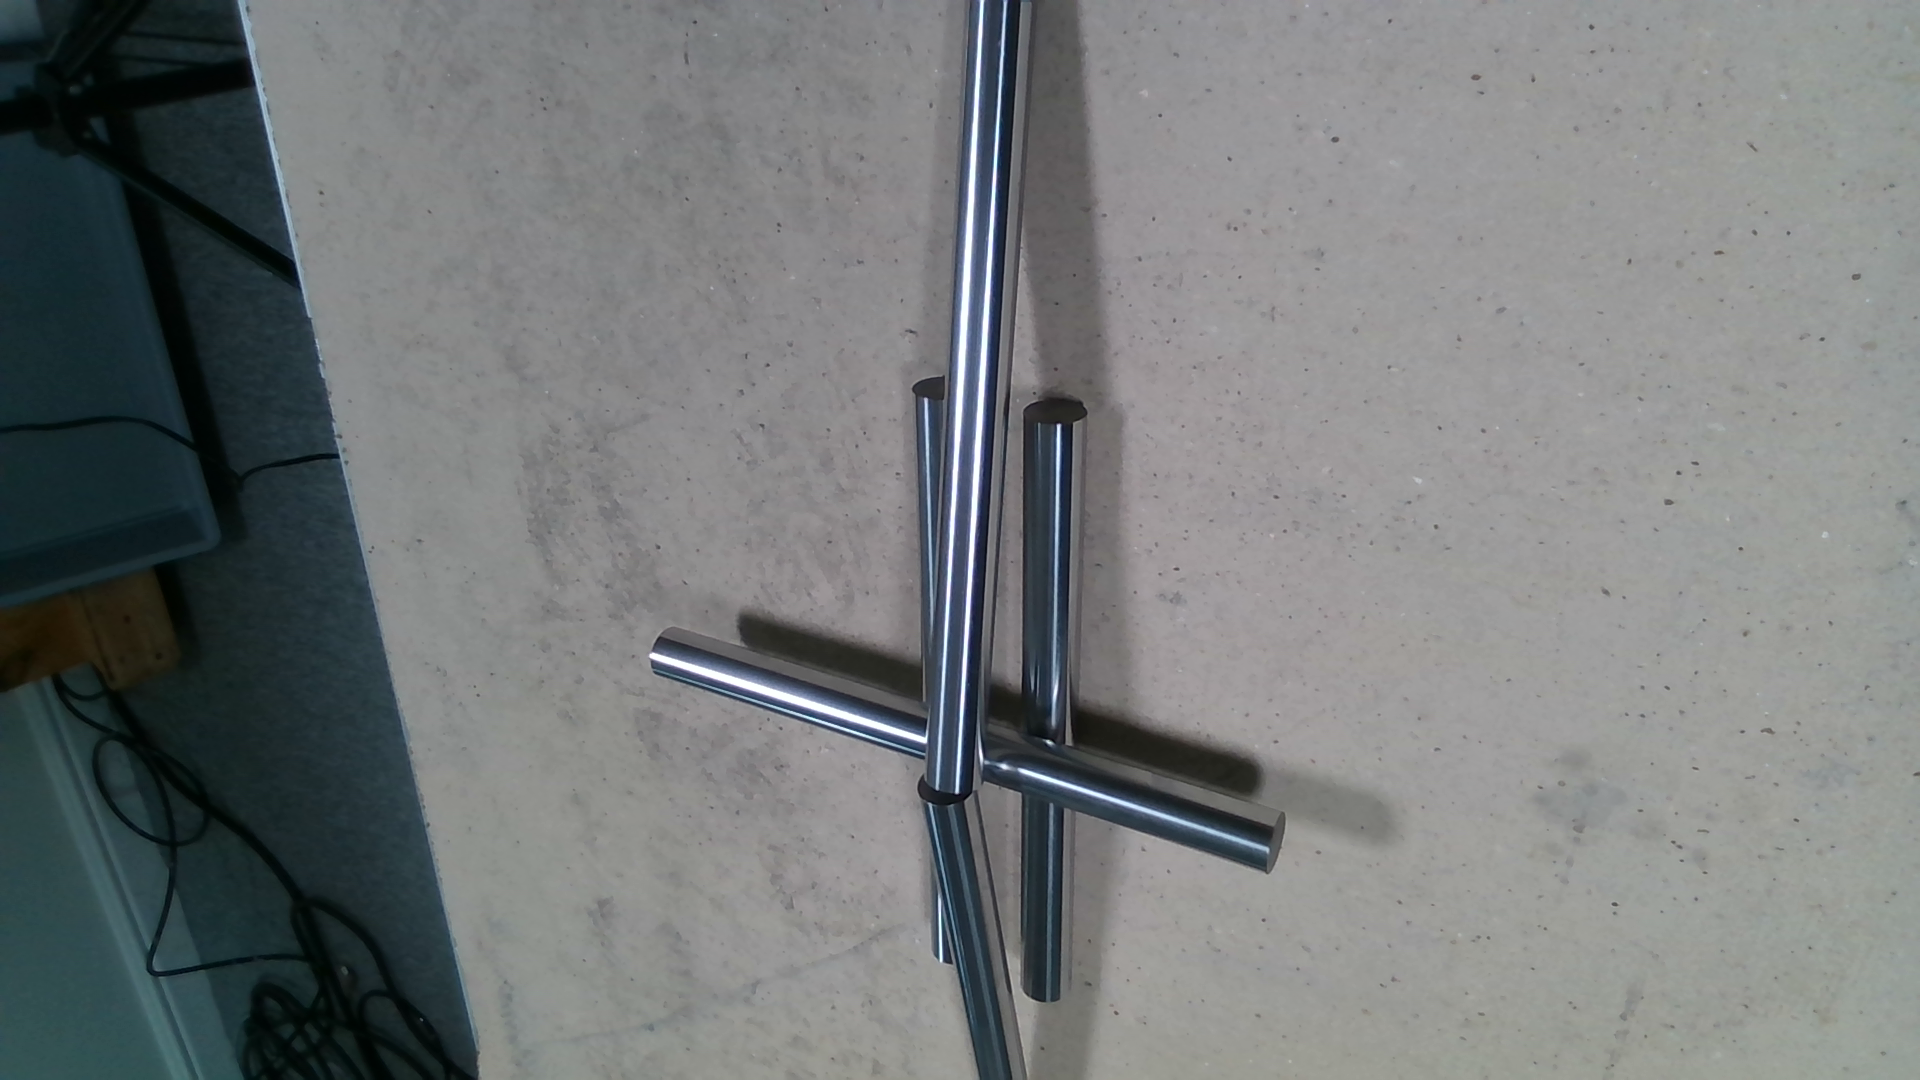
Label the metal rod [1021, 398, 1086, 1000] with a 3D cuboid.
[{"bbox_3d":[0.039,0.082,0.601,0.025,0.025,0.301,13,121,25],"label":"metal rod"}]

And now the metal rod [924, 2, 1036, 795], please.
[{"bbox_3d":[0.005,-0.042,0.521,0.025,0.025,0.301,13,112,25],"label":"metal rod"}]

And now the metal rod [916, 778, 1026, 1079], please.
[{"bbox_3d":[0.014,0.222,0.661,0.025,0.025,0.301,11,131,26],"label":"metal rod"}]

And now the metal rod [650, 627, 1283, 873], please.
[{"bbox_3d":[-0.009,0.086,0.600,0.300,0.025,0.025,14,122,25],"label":"metal rod"}]

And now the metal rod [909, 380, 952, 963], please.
[{"bbox_3d":[-0.005,0.071,0.622,0.025,0.025,0.301,13,121,25],"label":"metal rod"}]
